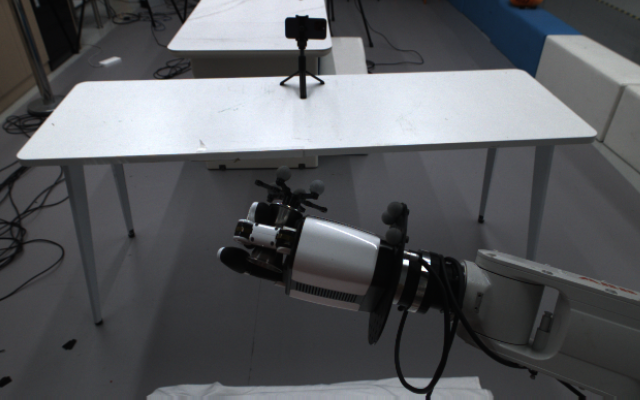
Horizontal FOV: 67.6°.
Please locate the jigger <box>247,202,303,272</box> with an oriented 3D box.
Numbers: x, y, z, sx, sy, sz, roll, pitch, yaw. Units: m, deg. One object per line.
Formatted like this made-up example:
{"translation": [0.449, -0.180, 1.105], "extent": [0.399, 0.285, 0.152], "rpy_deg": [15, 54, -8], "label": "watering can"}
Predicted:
{"translation": [-0.048, 0.039, 0.538], "extent": [0.043, 0.043, 0.071], "rpy_deg": [15, 70, 18], "label": "jigger"}
